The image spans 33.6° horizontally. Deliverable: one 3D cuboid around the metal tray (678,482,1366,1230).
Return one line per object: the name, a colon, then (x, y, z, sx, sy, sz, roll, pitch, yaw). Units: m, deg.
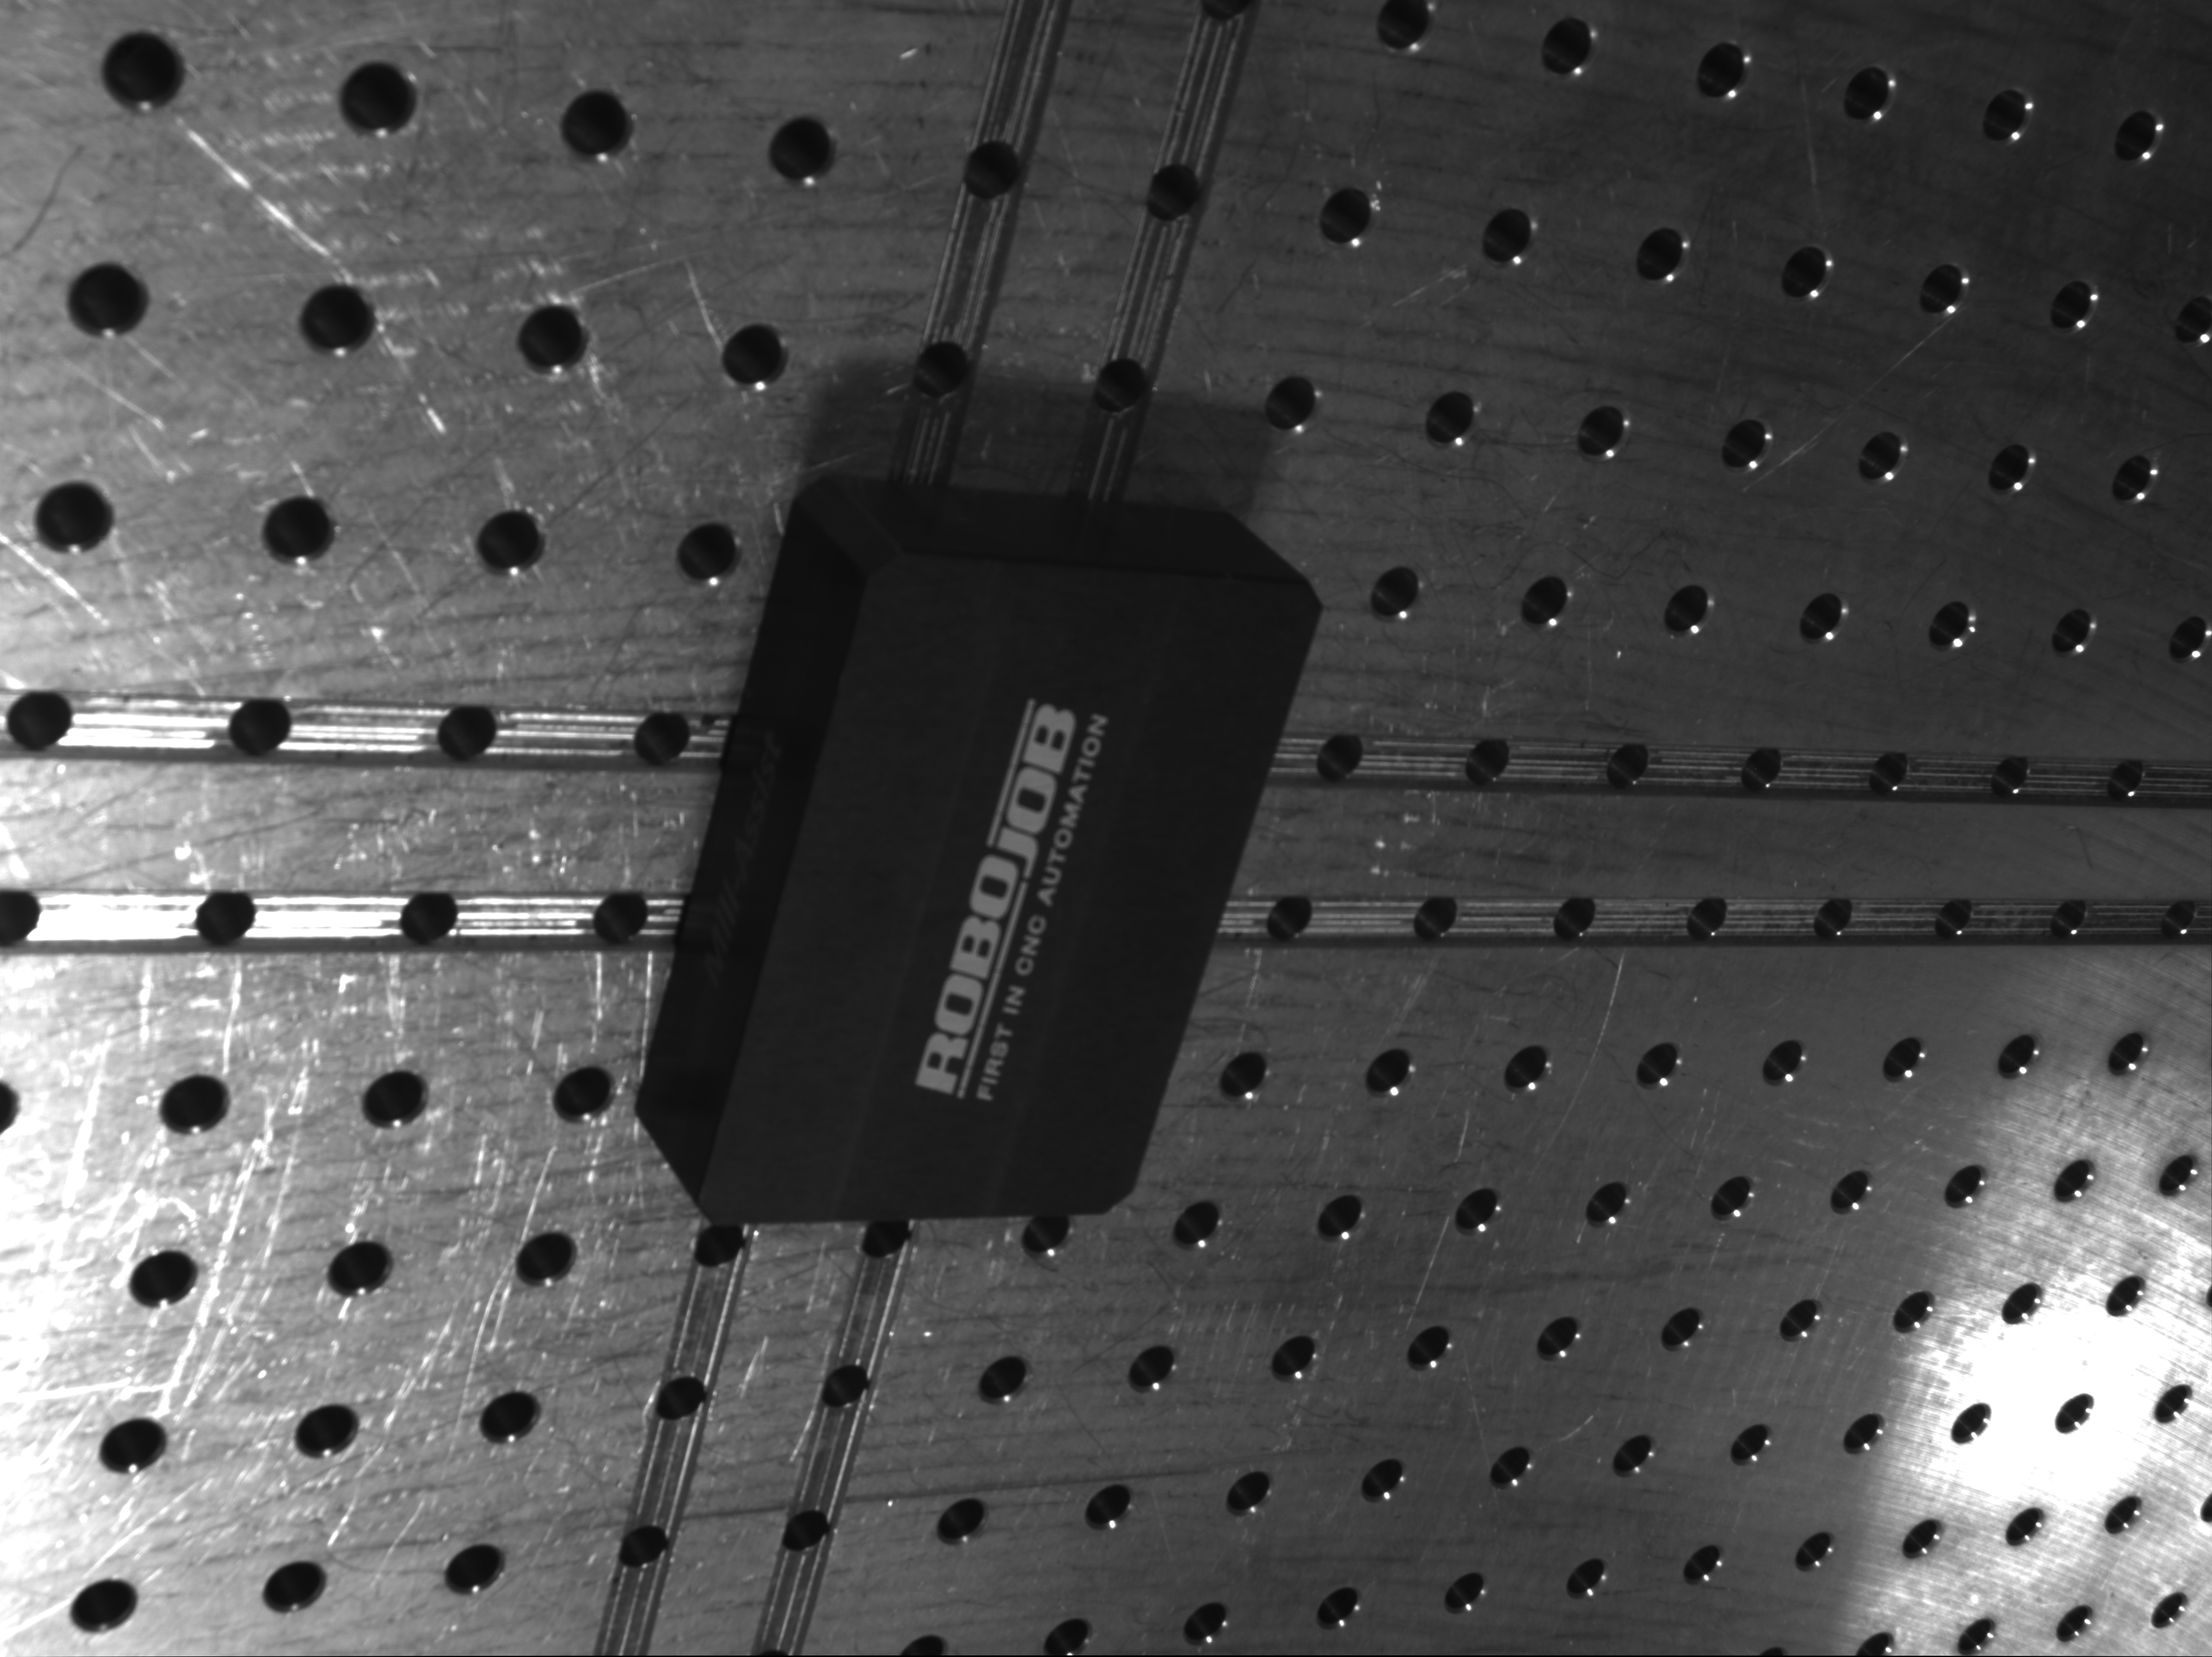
metal tray: (-0.016, 0.007, 0.645, 0.090, 0.030, 0.130, 2, 117, -31)
